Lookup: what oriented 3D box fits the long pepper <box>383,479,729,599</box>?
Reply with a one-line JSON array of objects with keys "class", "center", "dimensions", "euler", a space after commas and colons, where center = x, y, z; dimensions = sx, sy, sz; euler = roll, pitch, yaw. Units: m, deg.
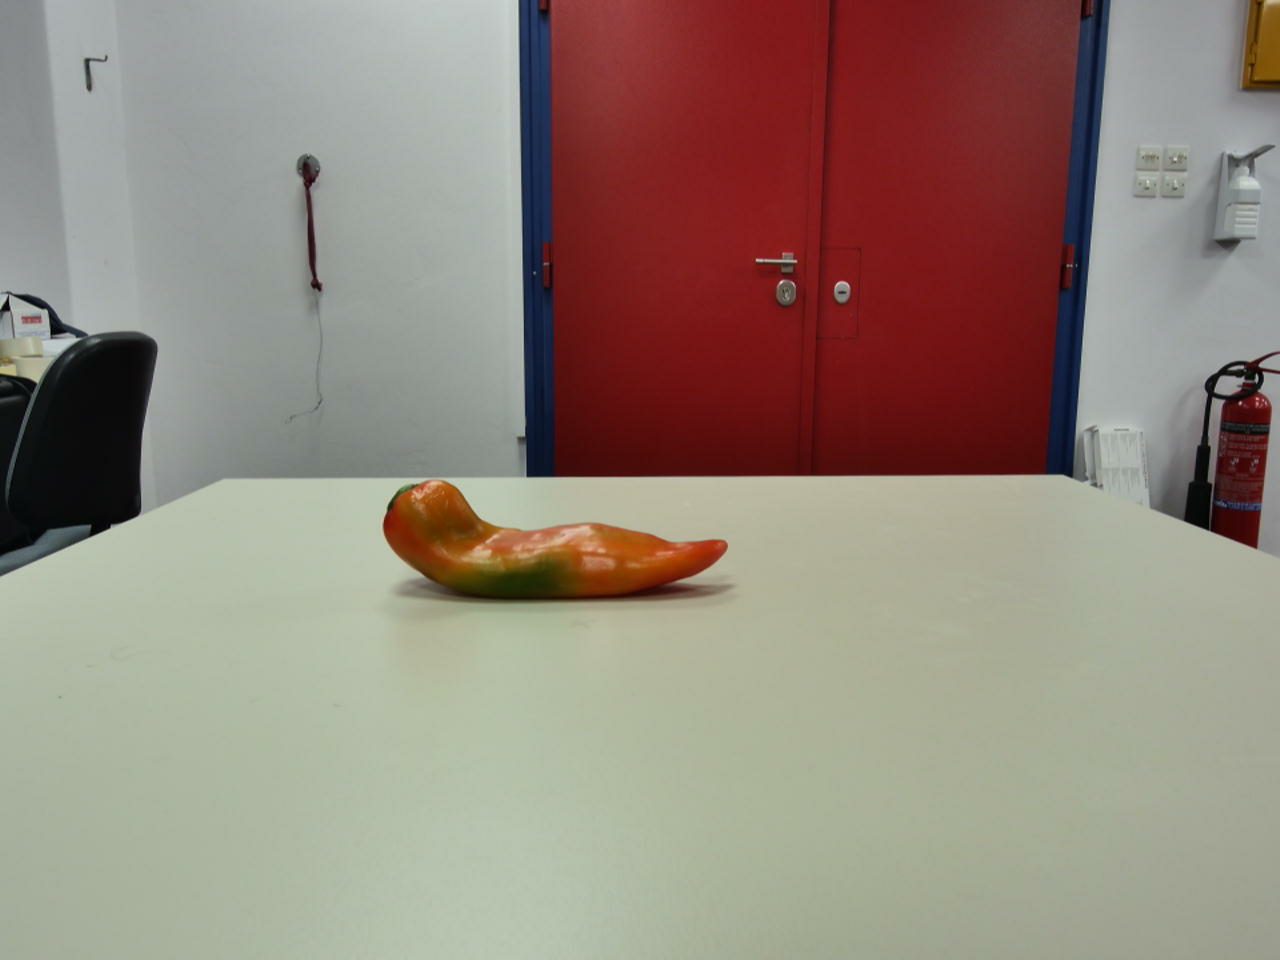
[{"class": "long pepper", "center": [-0.049, 0.032, 0.576], "dimensions": [0.199, 0.065, 0.066], "euler": [0, 8, 4]}]
